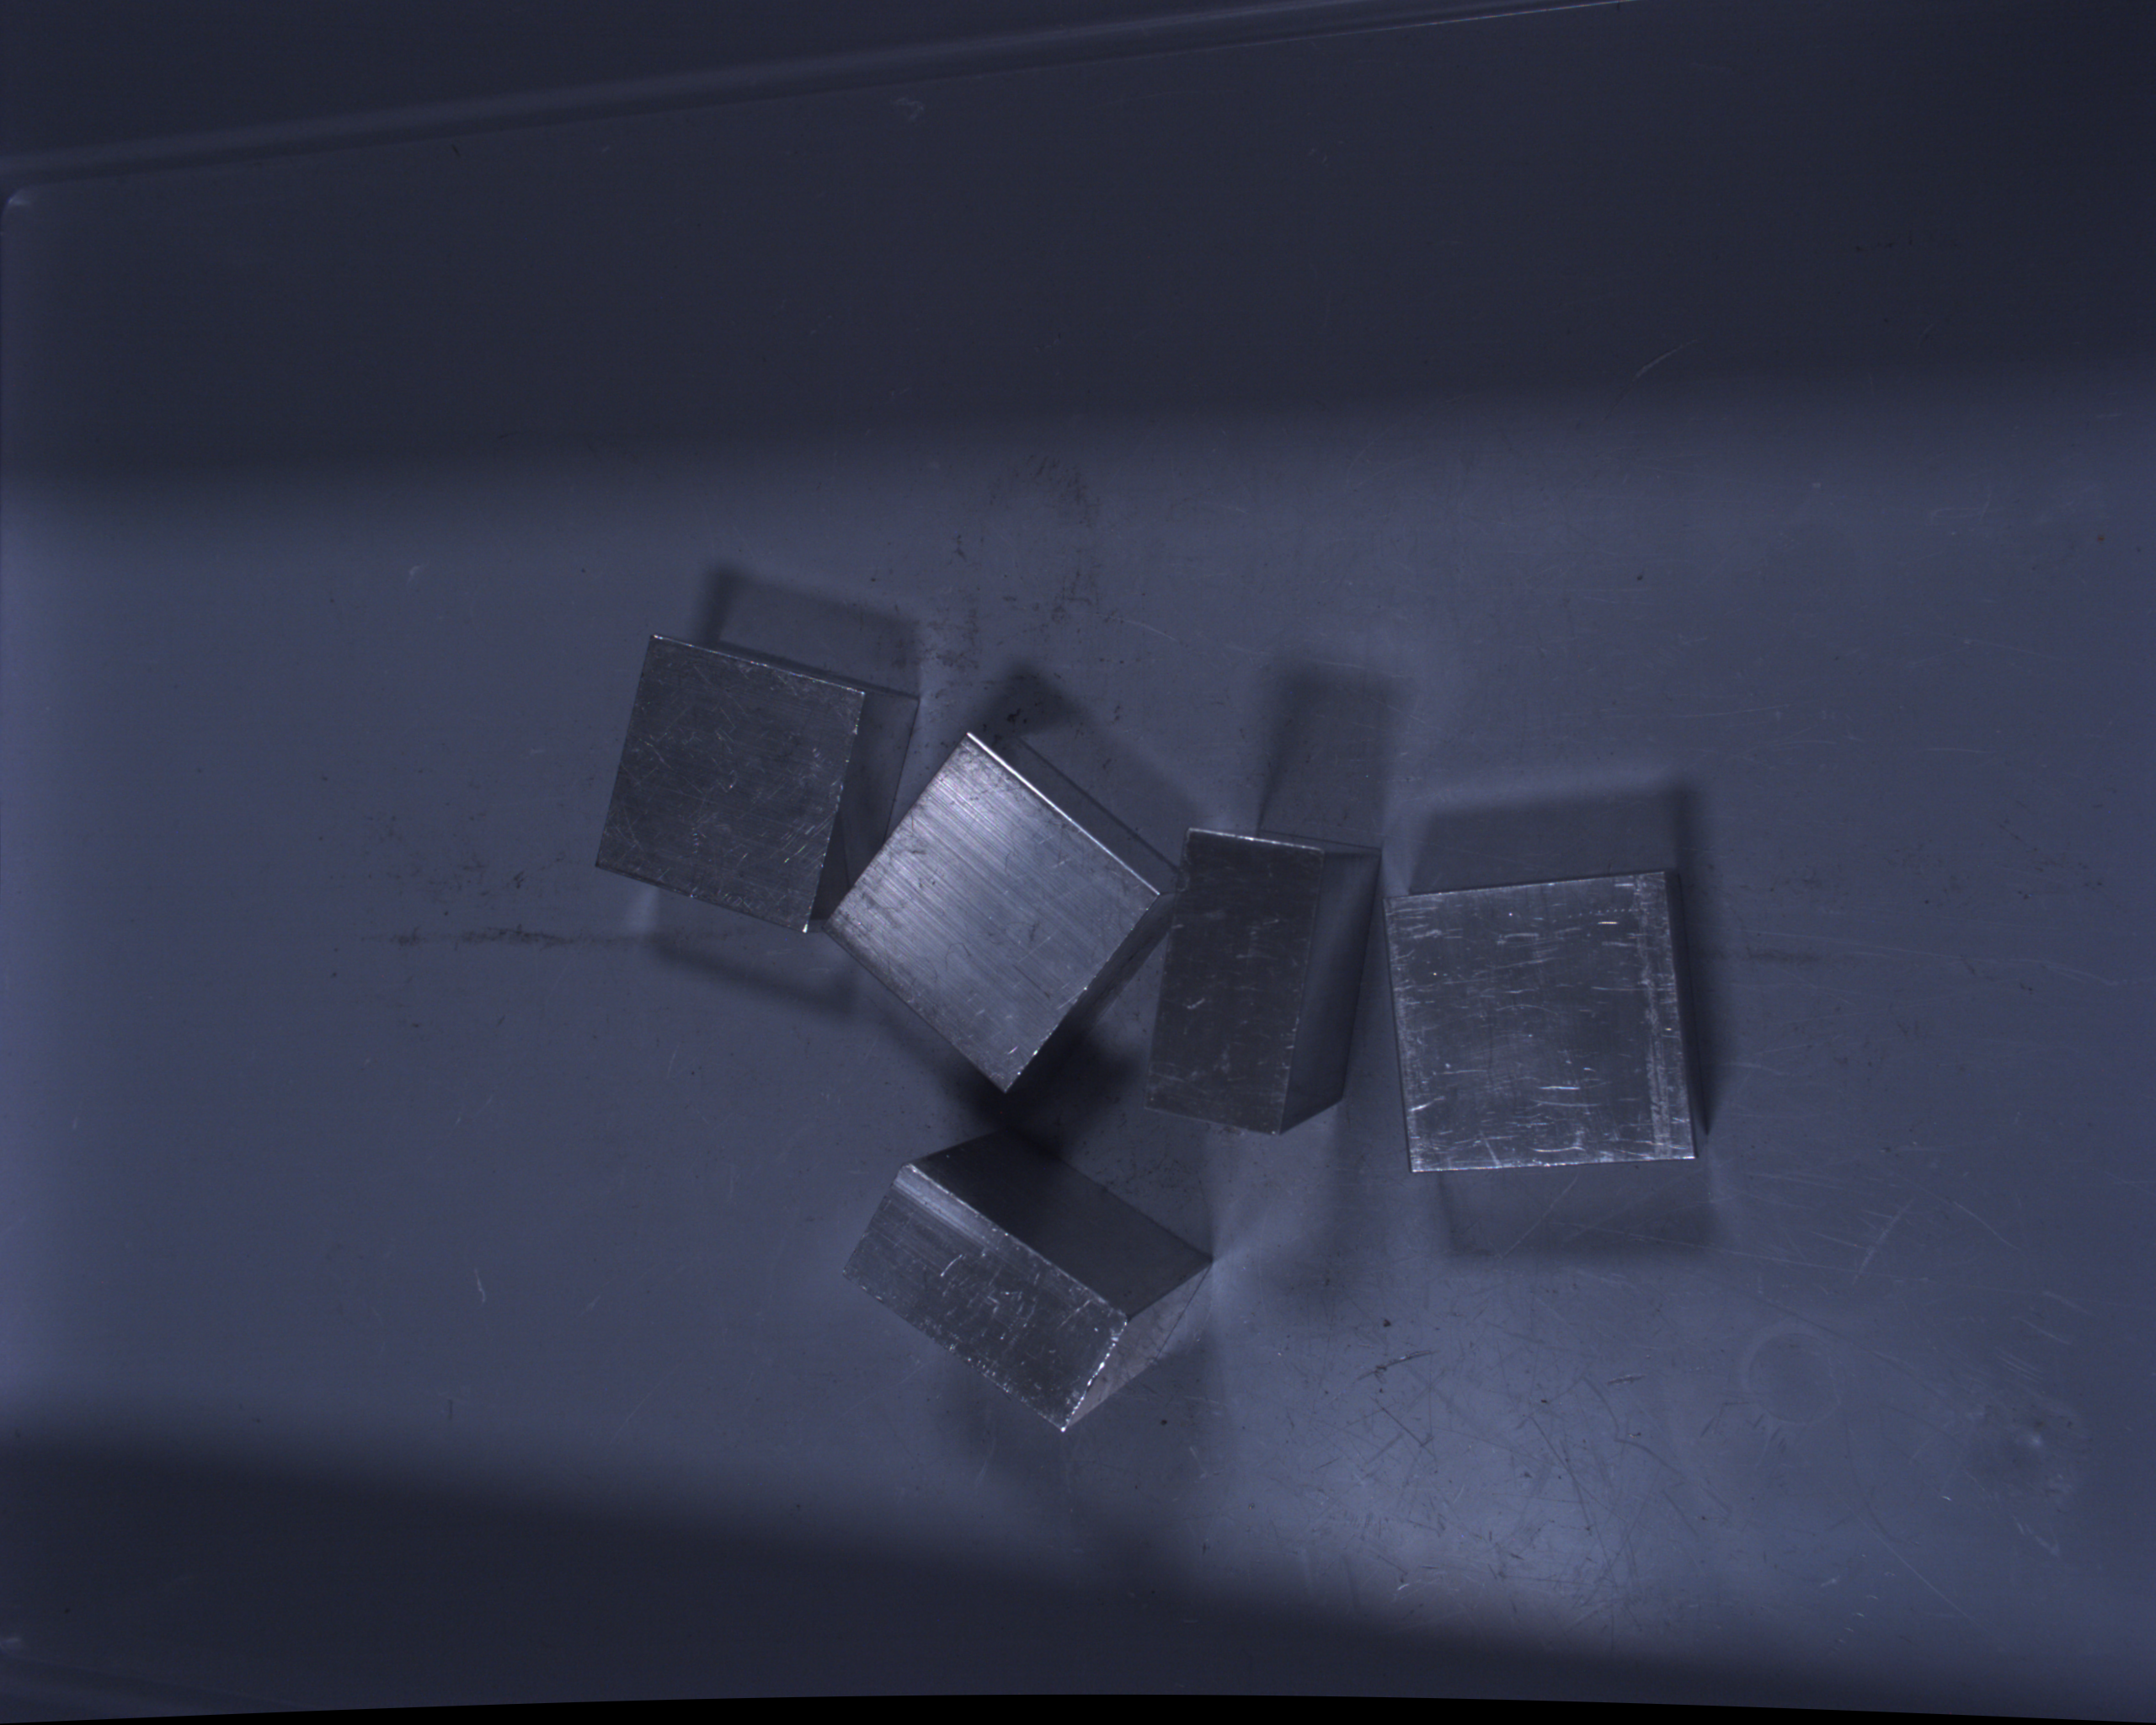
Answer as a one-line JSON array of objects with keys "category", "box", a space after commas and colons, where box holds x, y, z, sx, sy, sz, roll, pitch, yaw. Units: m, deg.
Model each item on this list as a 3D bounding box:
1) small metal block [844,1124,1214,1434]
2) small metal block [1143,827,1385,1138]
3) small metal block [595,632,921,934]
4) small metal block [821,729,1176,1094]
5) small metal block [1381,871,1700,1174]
[{"category": "small metal block", "box": [-0.008, 0.077, 0.397, 0.050, 0.050, 0.025, 32, 101, 16]}, {"category": "small metal block", "box": [0.035, 0.020, 0.382, 0.025, 0.050, 0.050, 10, 93, 19]}, {"category": "small metal block", "box": [-0.066, -0.016, 0.430, 0.050, 0.025, 0.050, 16, 95, 19]}, {"category": "small metal block", "box": [-0.013, 0.009, 0.411, 0.050, 0.025, 0.050, 40, 102, 15]}, {"category": "small metal block", "box": [0.085, 0.029, 0.378, 0.050, 0.025, 0.050, -6, 88, 19]}]
